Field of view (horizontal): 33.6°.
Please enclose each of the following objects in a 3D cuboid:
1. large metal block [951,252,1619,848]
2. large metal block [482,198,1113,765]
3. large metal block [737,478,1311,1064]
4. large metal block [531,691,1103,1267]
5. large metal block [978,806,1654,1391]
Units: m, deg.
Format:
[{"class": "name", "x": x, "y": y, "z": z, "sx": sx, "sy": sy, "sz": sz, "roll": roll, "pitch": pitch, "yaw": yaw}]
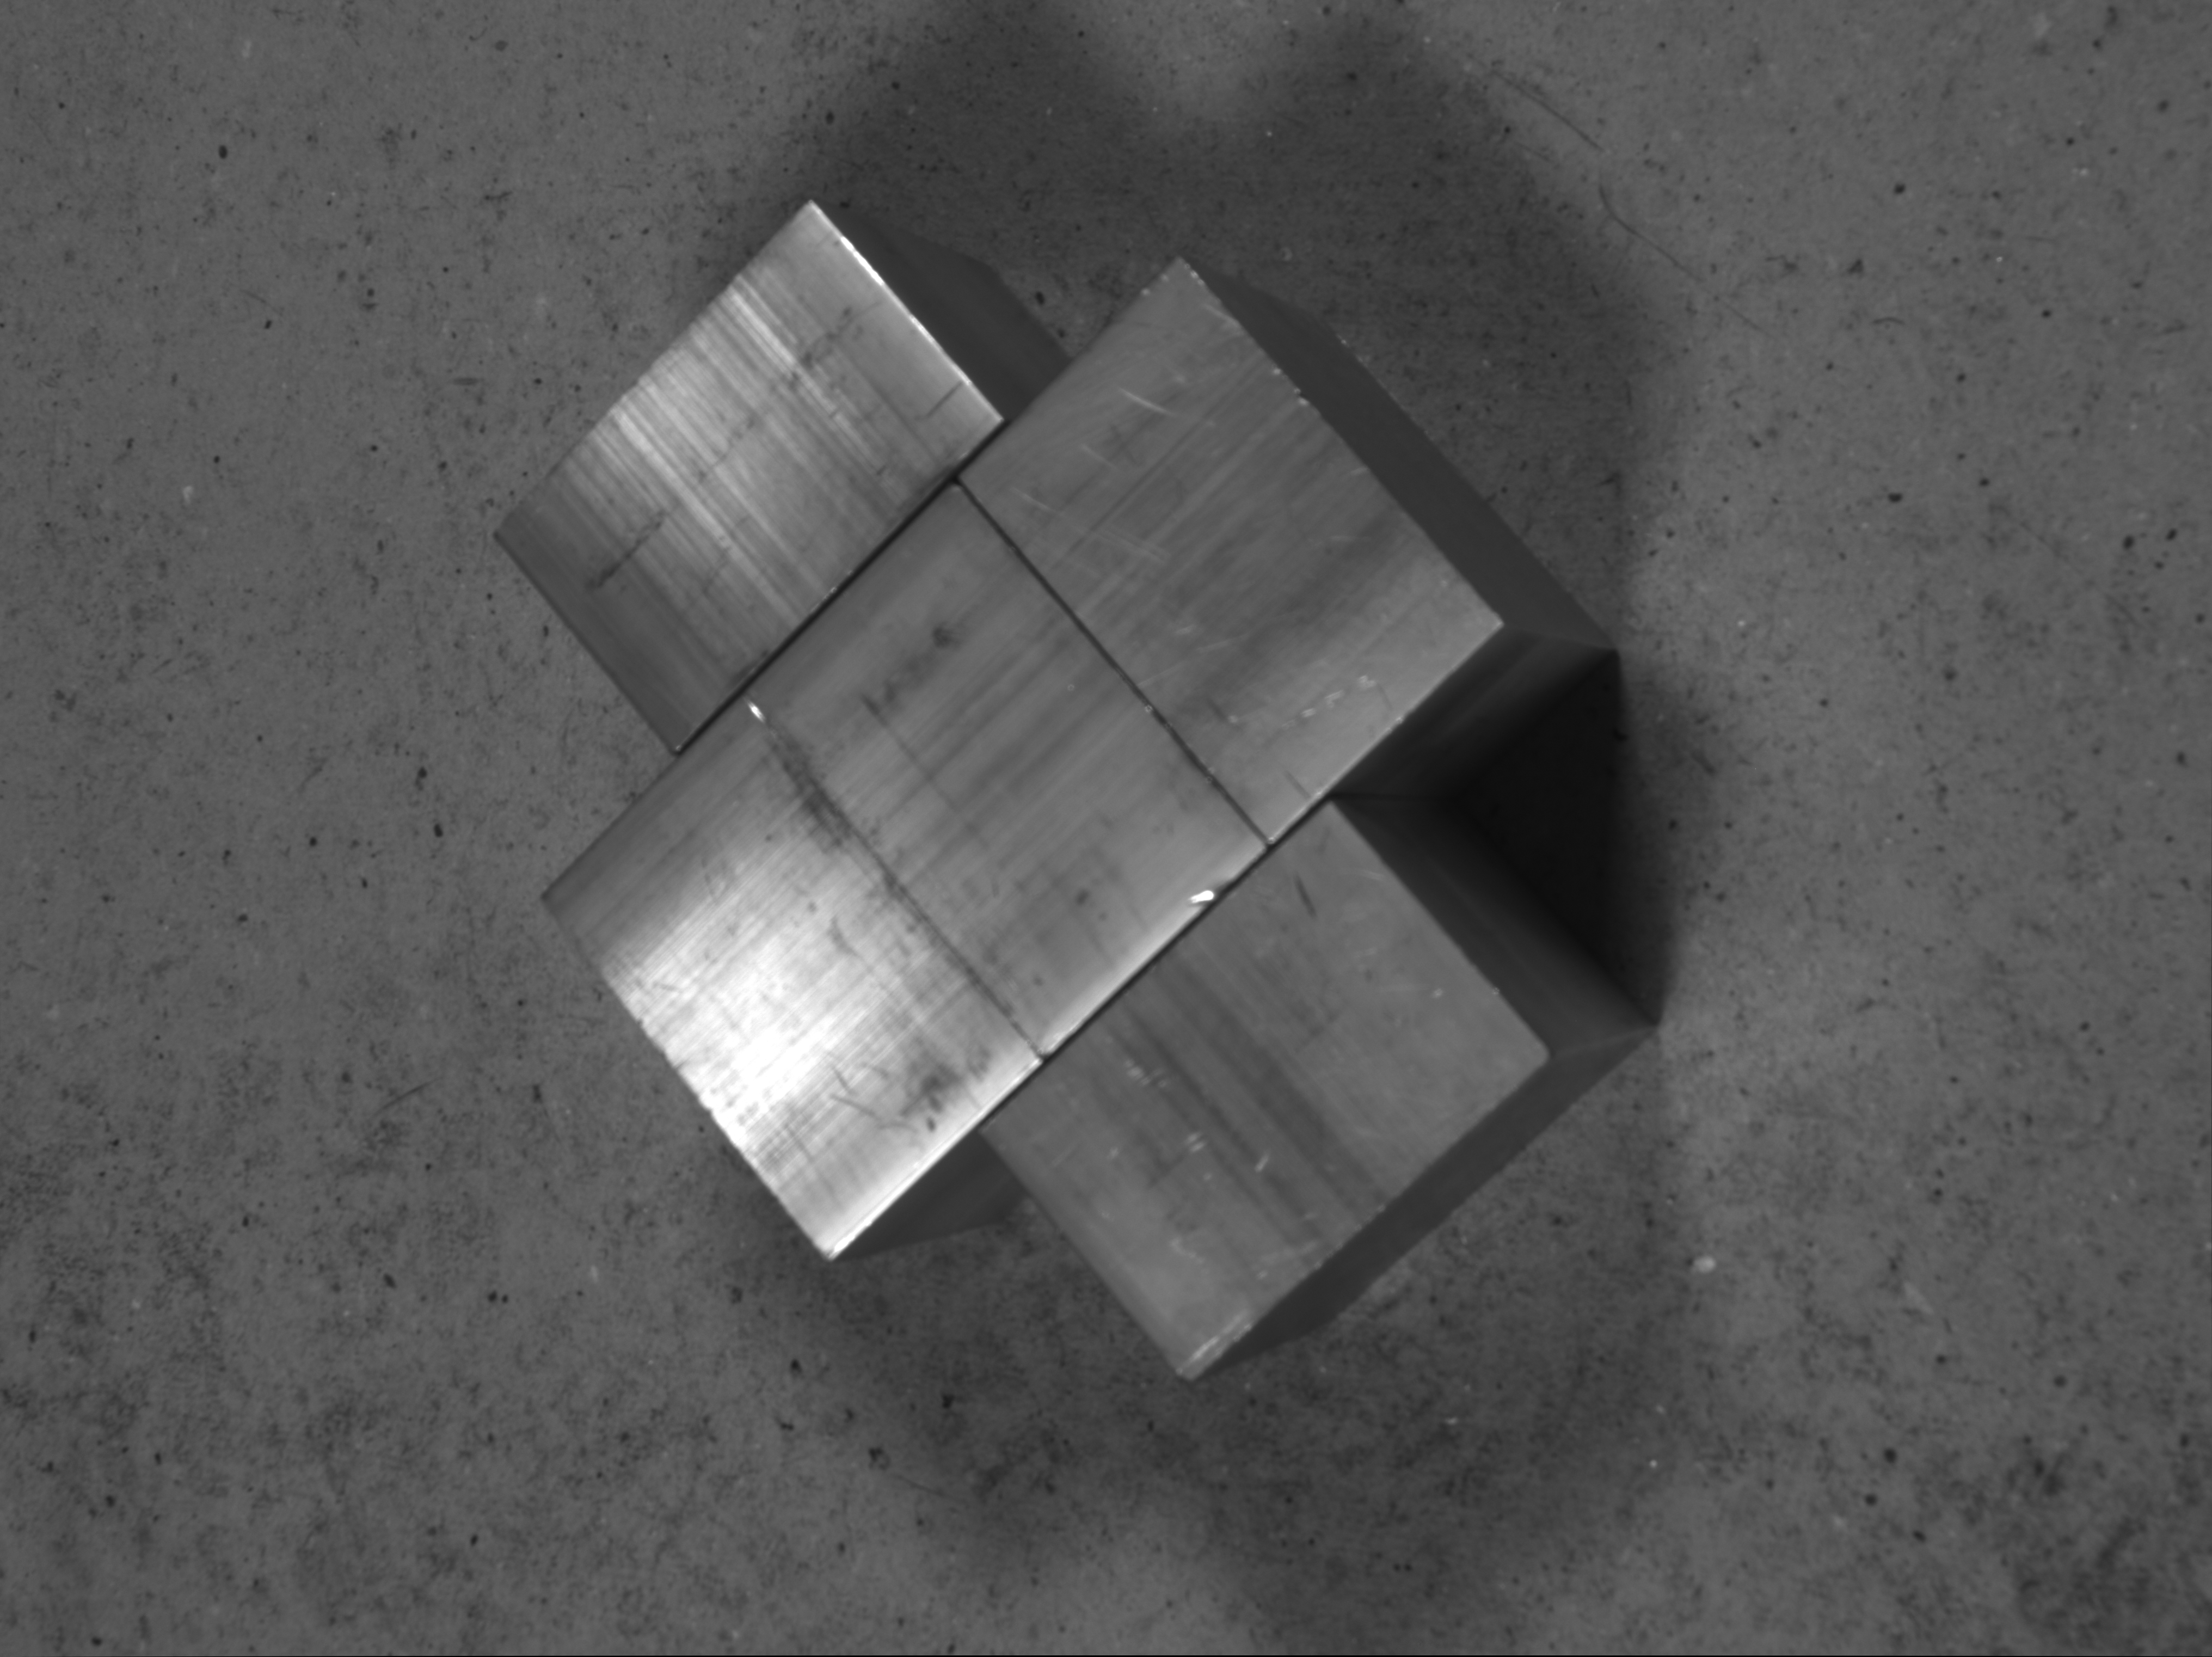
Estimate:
[{"class": "large metal block", "x": 0.032, "y": -0.043, "z": 0.605, "sx": 0.050, "sy": 0.080, "sz": 0.080, "roll": -44, "pitch": 76, "yaw": 14}, {"class": "large metal block", "x": -0.047, "y": -0.056, "z": 0.633, "sx": 0.080, "sy": 0.080, "sz": 0.050, "roll": -44, "pitch": 76, "yaw": 14}, {"class": "large metal block", "x": -0.004, "y": -0.009, "z": 0.617, "sx": 0.050, "sy": 0.080, "sz": 0.080, "roll": -44, "pitch": 76, "yaw": 14}, {"class": "large metal block", "x": -0.039, "y": 0.024, "z": 0.630, "sx": 0.050, "sy": 0.080, "sz": 0.080, "roll": -44, "pitch": 76, "yaw": 14}, {"class": "large metal block", "x": 0.037, "y": 0.042, "z": 0.603, "sx": 0.080, "sy": 0.080, "sz": 0.050, "roll": -44, "pitch": 76, "yaw": 14}]
